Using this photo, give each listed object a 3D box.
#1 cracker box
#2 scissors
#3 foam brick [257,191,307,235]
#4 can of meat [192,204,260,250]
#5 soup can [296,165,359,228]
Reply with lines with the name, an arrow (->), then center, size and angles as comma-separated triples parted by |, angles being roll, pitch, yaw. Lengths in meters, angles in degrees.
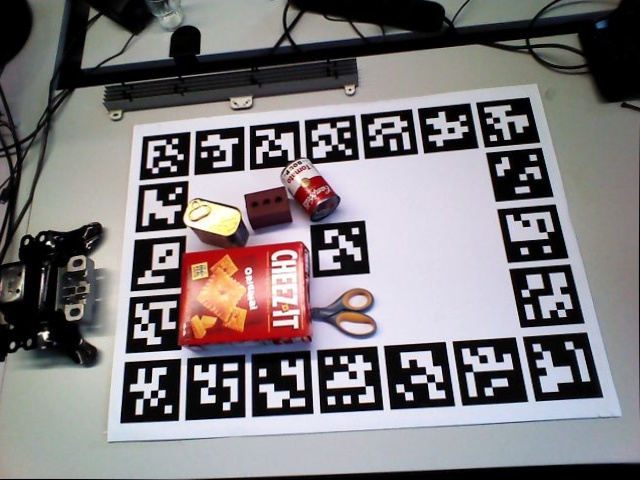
cracker box -> -0.106, 0.108, 0.864 | 0.214, 0.072, 0.163 | -11, 69, 7
scissors -> 0.014, 0.142, 0.870 | 0.203, 0.016, 0.087 | -9, 70, 4
foam brick -> -0.068, -0.048, 0.942 | 0.078, 0.051, 0.052 | -14, 70, 1
can of meat -> -0.164, -0.017, 0.922 | 0.102, 0.084, 0.057 | 9, 72, 9
soup can -> 0.012, -0.081, 0.942 | 0.068, 0.068, 0.102 | -40, 66, -8
